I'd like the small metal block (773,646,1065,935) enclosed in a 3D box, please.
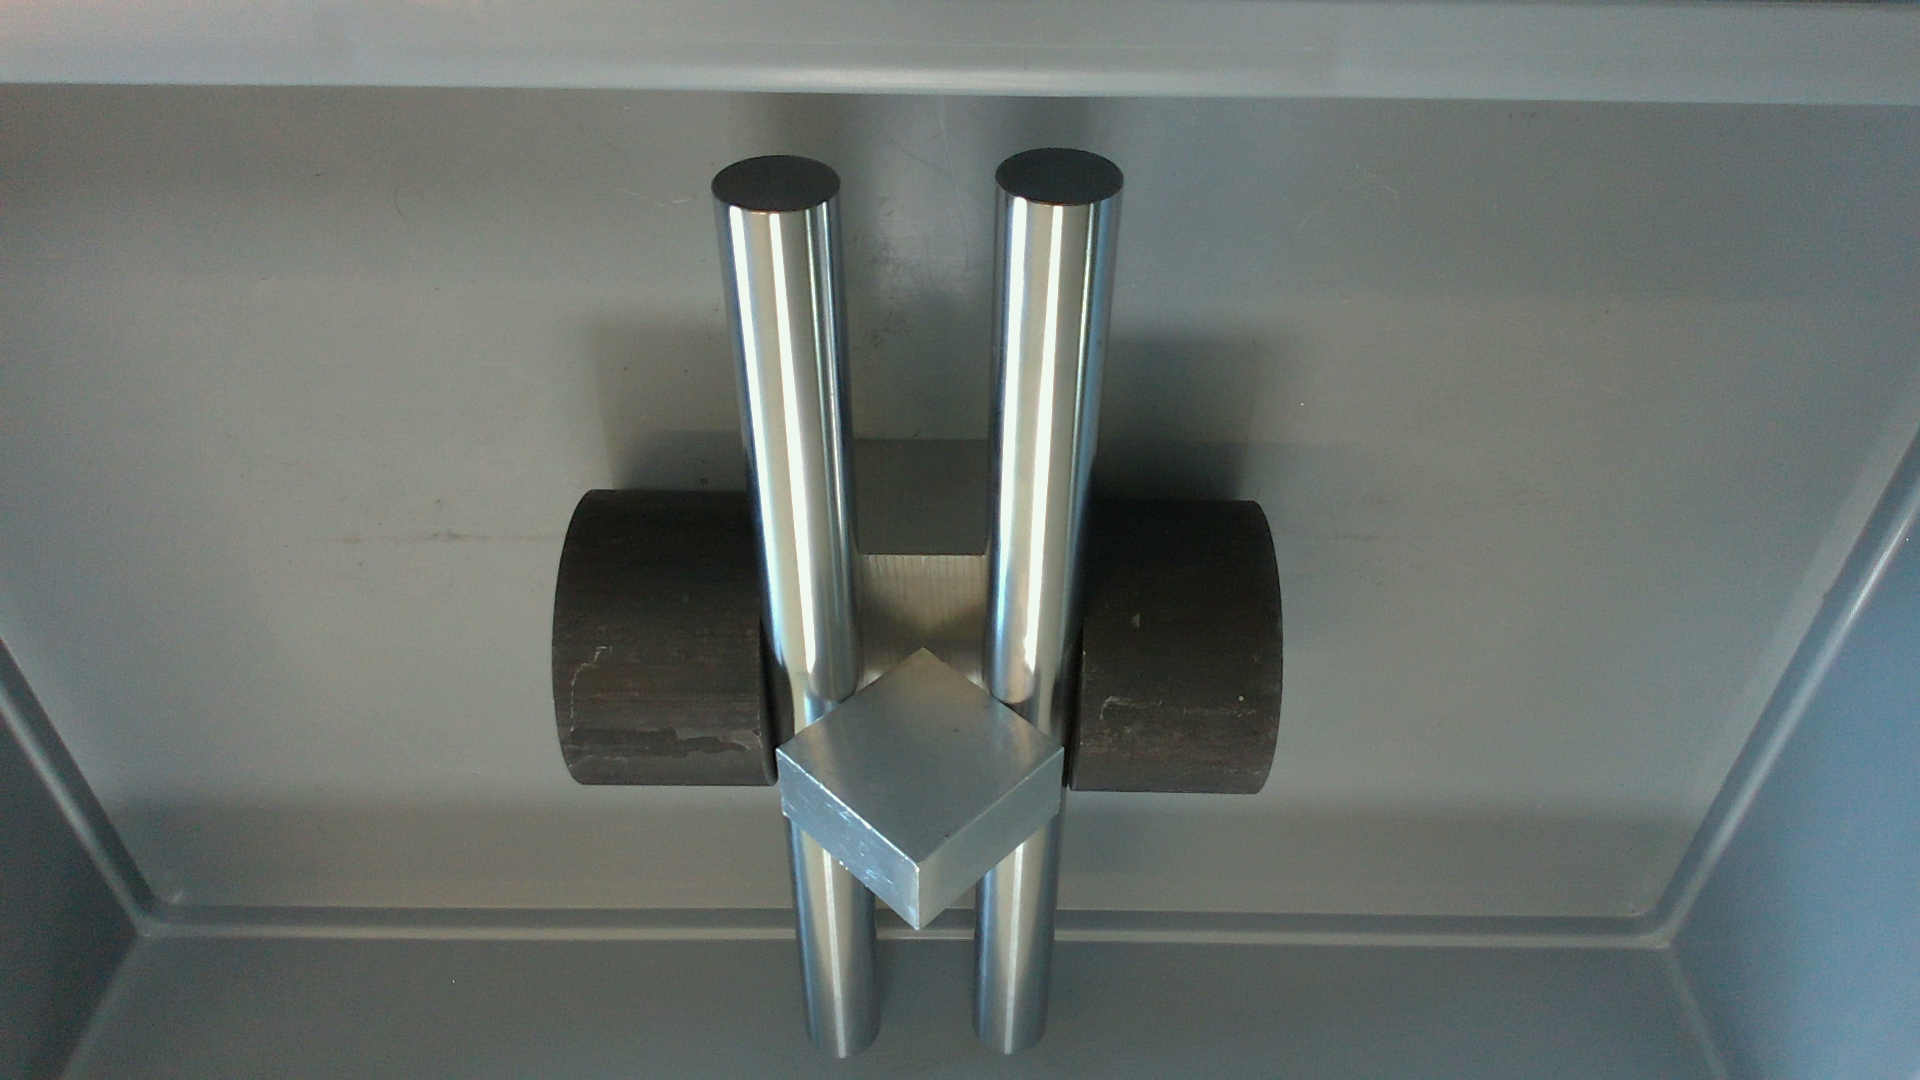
[{"bbox_3d":[-0.010,0.060,0.341,0.050,0.050,0.025,33,140,32],"label":"small metal block"}]

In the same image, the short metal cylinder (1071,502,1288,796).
[{"bbox_3d":[0.056,0.030,0.378,0.050,0.080,0.080,1,130,0],"label":"short metal cylinder"}]

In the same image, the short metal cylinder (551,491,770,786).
[{"bbox_3d":[-0.075,0.026,0.375,0.050,0.080,0.080,1,130,-1],"label":"short metal cylinder"}]

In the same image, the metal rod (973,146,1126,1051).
[{"bbox_3d":[0.018,0.044,0.361,0.025,0.025,0.300,0,130,0],"label":"metal rod"}]

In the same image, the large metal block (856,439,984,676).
[{"bbox_3d":[-0.010,0.019,0.388,0.080,0.050,0.080,0,130,-1],"label":"large metal block"}]

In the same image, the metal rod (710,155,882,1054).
[{"bbox_3d":[-0.037,0.046,0.362,0.025,0.025,0.300,0,130,0],"label":"metal rod"}]
